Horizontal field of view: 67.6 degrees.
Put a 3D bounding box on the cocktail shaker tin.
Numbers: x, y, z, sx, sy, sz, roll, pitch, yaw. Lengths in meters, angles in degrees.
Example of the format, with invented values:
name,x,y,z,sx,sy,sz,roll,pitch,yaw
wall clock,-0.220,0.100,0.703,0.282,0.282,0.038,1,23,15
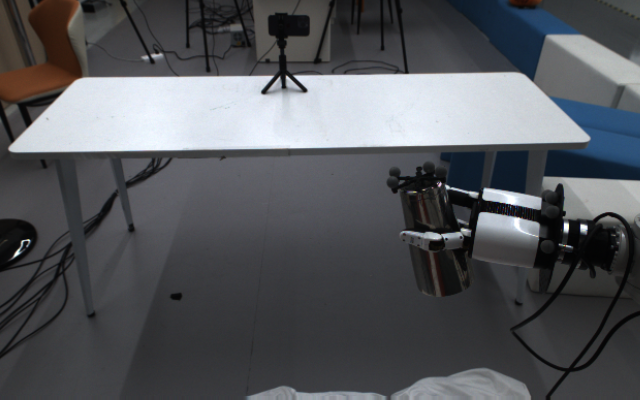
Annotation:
name,x,y,z,sx,sy,sz,roll,pitch,yaw
cocktail shaker tin,0.174,0.050,0.739,0.093,0.170,0.093,-17,20,7
